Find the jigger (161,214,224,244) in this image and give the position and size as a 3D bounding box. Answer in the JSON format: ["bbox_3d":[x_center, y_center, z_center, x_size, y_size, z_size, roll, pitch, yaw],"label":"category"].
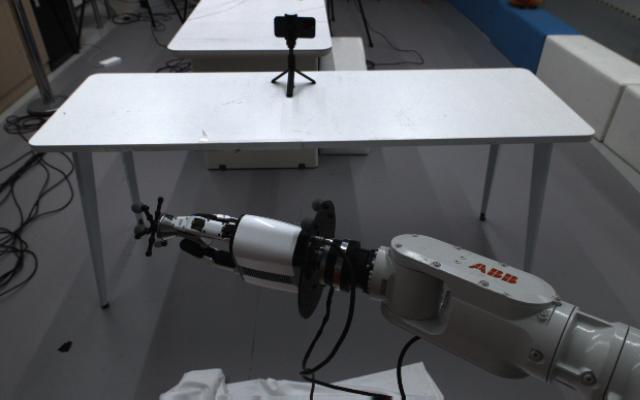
[{"bbox_3d":[-0.186,0.041,0.701,0.071,0.043,0.043,5,34,13],"label":"jigger"}]
